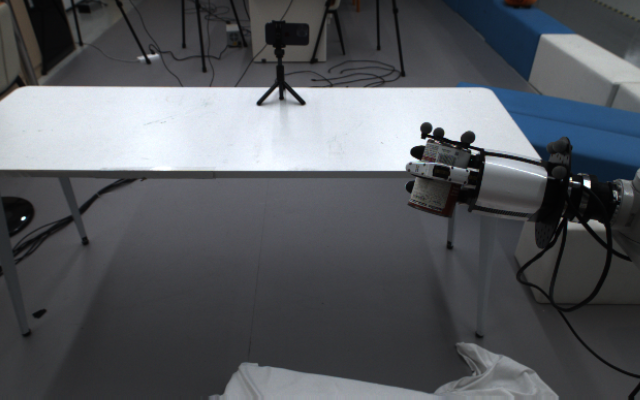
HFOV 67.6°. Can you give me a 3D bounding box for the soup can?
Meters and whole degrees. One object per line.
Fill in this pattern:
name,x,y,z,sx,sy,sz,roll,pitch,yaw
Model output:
soup can,0.177,-0.032,0.715,0.067,0.101,0.067,15,7,-2
